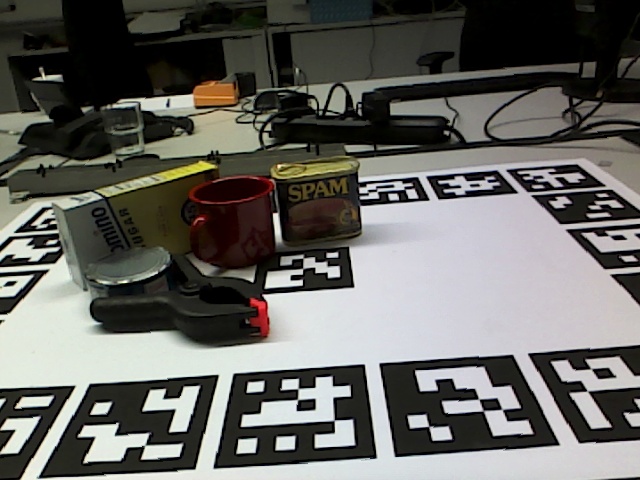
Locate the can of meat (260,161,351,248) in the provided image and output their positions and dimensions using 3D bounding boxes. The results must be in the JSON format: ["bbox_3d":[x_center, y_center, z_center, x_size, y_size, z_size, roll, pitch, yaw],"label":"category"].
[{"bbox_3d":[-0.015,-0.041,0.715,0.102,0.083,0.058,-6,24,-6],"label":"can of meat"}]

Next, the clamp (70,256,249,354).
[{"bbox_3d":[-0.131,0.063,0.568,0.166,0.036,0.121,18,29,31],"label":"clamp"}]

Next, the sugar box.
[{"bbox_3d":[-0.207,-0.020,0.688,0.175,0.092,0.045,-20,28,-33],"label":"sugar box"}]

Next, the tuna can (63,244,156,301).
[{"bbox_3d":[-0.209,0.039,0.619,0.086,0.033,0.086,-4,27,1],"label":"tuna can"}]

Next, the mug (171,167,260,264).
[{"bbox_3d":[-0.115,-0.021,0.670,0.094,0.081,0.117,9,30,24],"label":"mug"}]
